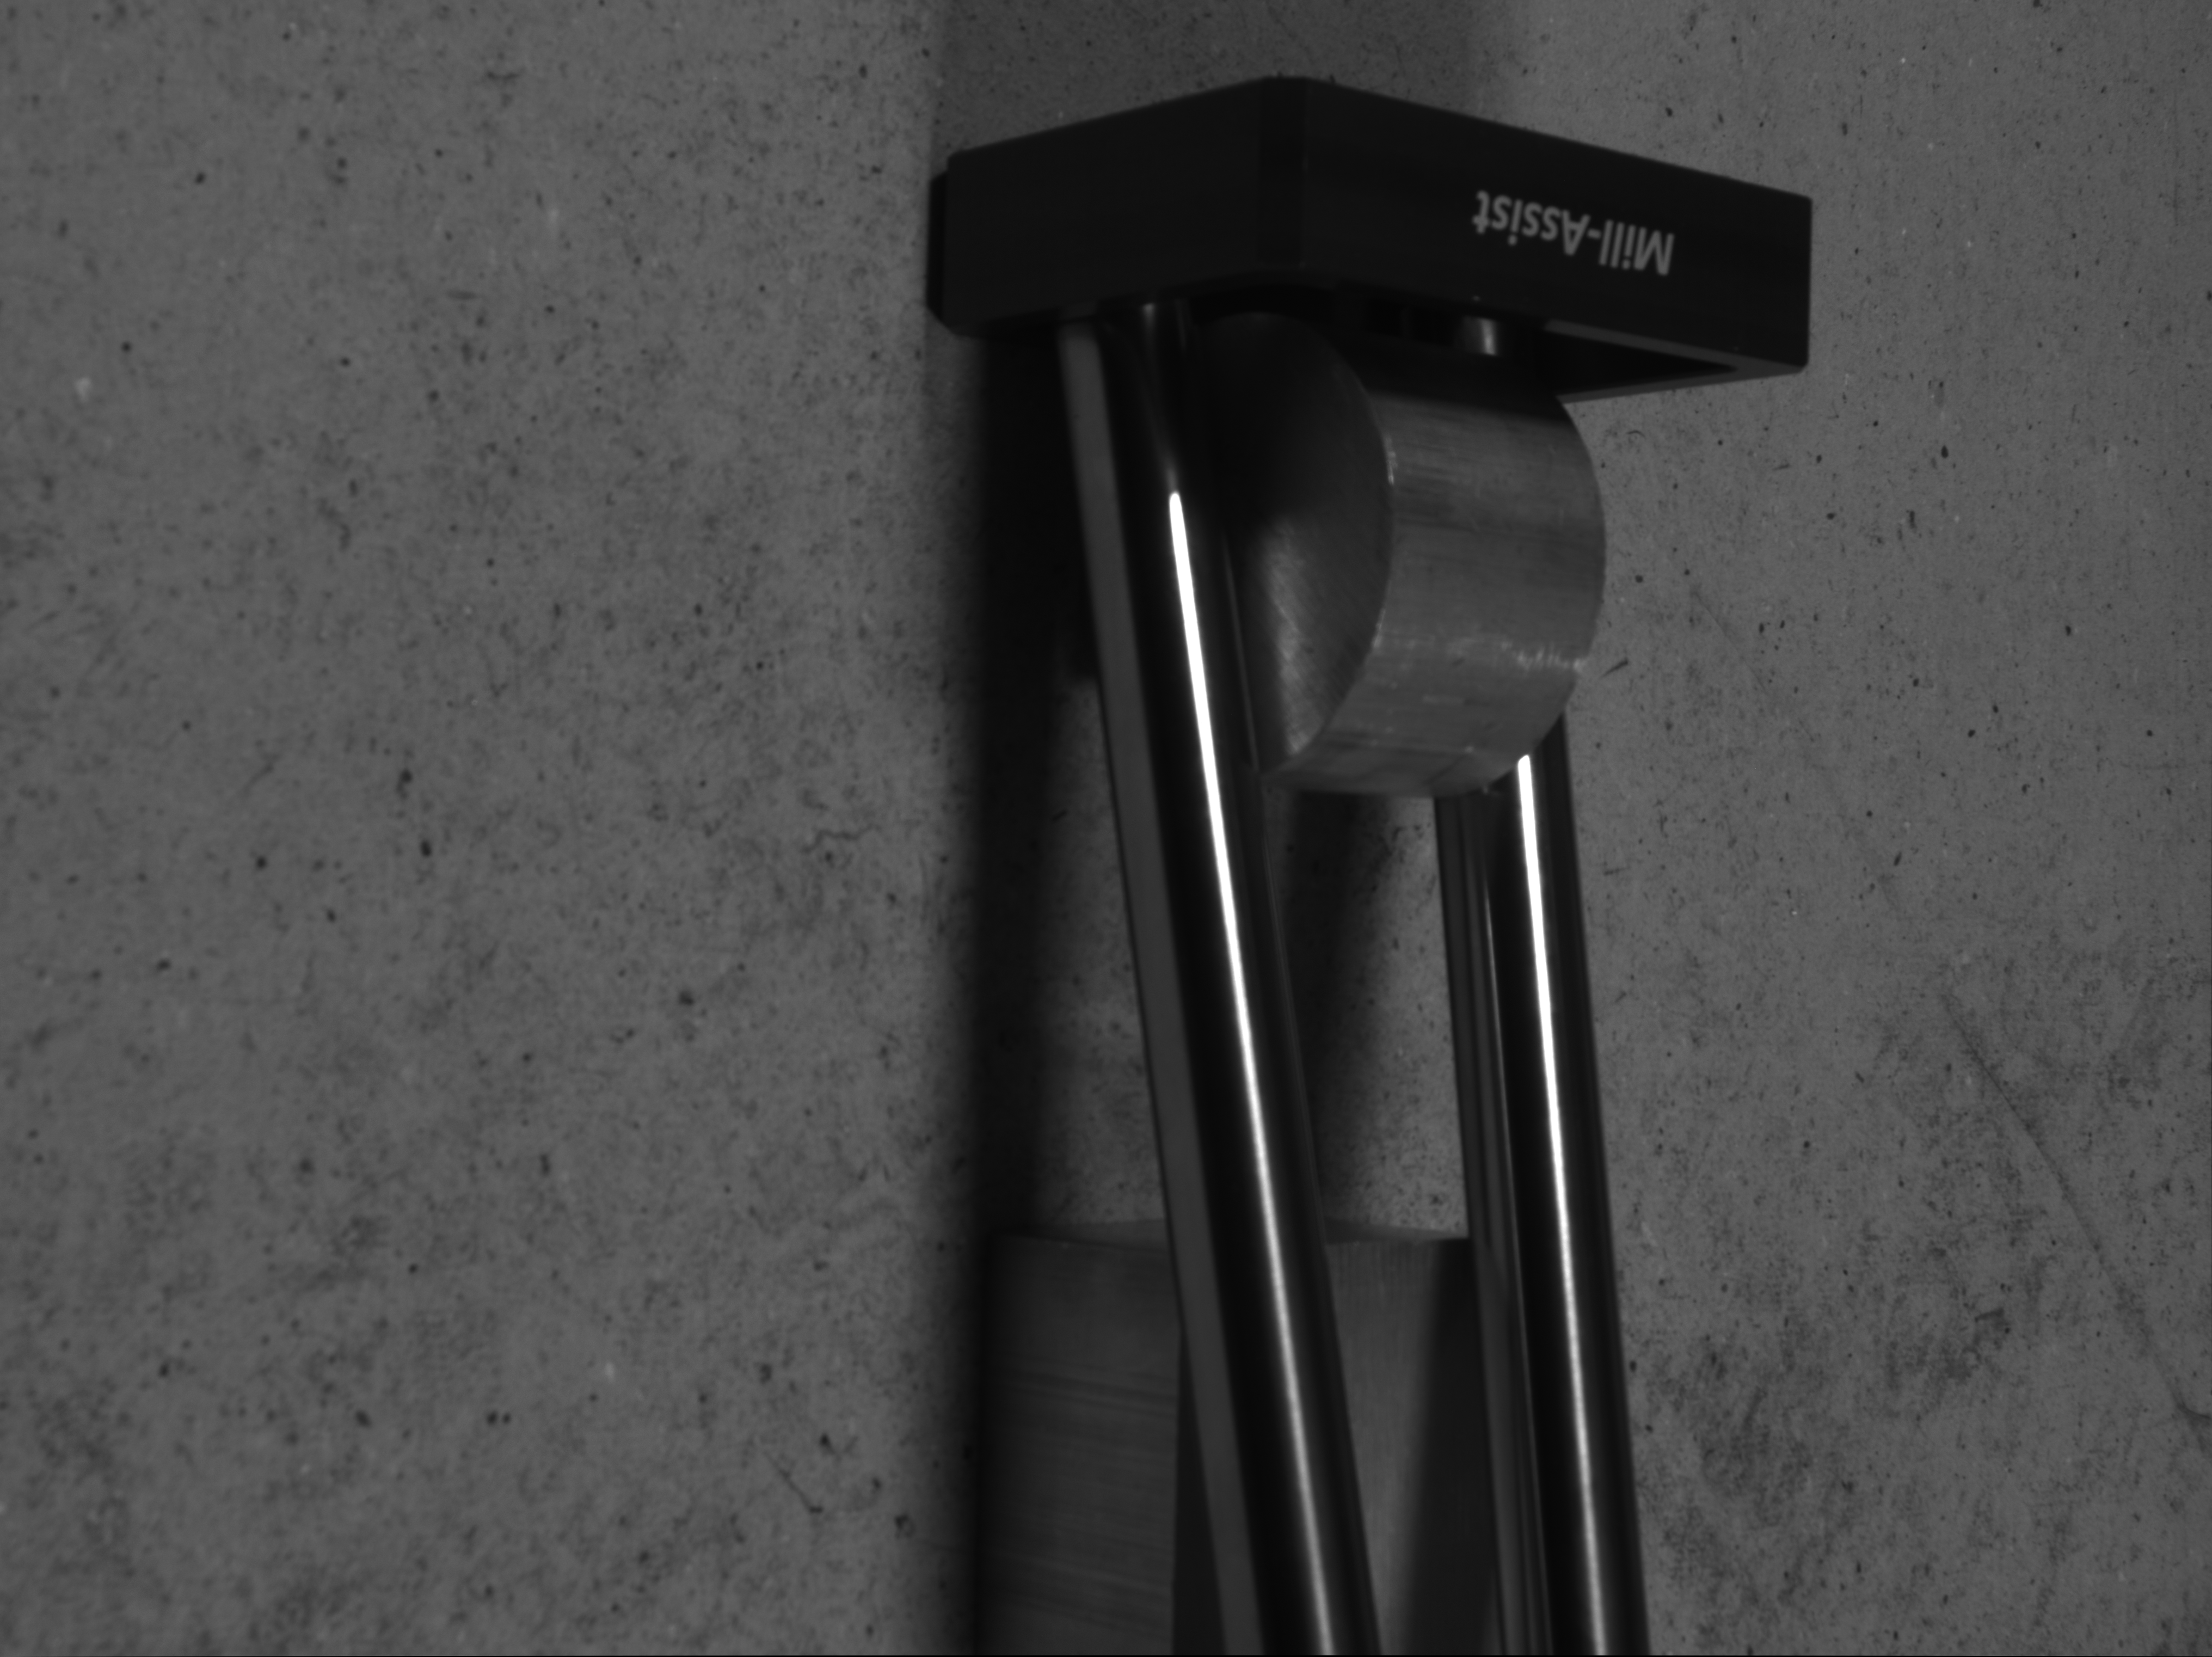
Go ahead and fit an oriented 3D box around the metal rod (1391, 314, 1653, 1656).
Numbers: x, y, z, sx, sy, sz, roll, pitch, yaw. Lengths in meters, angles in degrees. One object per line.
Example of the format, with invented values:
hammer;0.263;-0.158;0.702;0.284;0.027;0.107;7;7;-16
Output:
metal rod;0.074;0.050;0.638;0.025;0.025;0.300;11;68;-39

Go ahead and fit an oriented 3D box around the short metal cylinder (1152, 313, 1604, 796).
short metal cylinder;0.040;-0.046;0.635;0.050;0.080;0.080;3;88;-40

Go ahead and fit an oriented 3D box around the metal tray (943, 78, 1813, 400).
metal tray;0.048;-0.098;0.635;0.130;0.090;0.030;3;88;-40

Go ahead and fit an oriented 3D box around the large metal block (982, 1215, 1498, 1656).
large metal block;0.026;0.111;0.640;0.080;0.050;0.080;2;88;-40

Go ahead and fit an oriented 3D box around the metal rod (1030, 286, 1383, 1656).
metal rod;0.019;0.047;0.594;0.025;0.025;0.300;3;73;-40
